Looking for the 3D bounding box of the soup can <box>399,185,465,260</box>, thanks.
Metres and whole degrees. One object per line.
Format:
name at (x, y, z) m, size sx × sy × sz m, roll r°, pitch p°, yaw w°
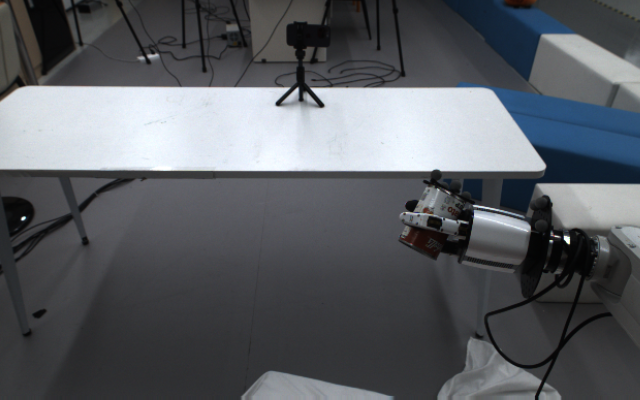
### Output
soup can at (0.177, 0.034, 0.768) m, size 0.067 × 0.101 × 0.067 m, roll 29°, pitch -2°, yaw 1°
